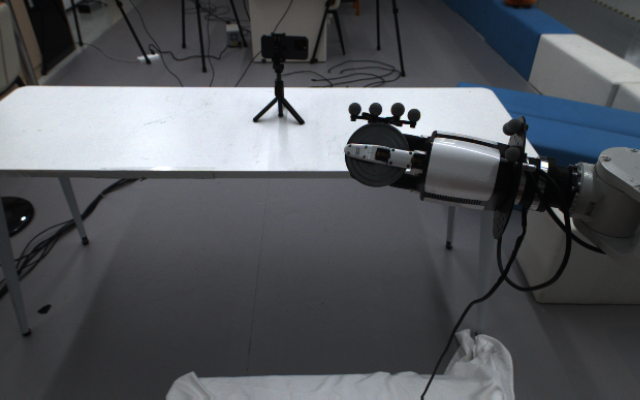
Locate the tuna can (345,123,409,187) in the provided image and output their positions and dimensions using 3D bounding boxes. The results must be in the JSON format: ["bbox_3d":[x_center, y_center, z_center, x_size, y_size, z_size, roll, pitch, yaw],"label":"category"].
[{"bbox_3d":[0.078,-0.063,0.651,0.085,0.085,0.034,11,2,12],"label":"tuna can"}]
